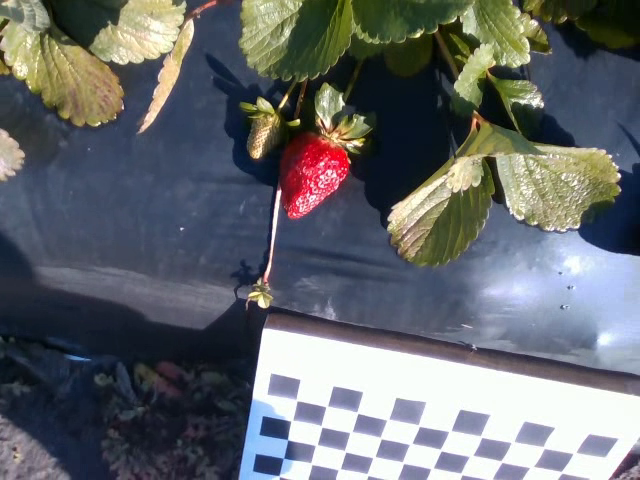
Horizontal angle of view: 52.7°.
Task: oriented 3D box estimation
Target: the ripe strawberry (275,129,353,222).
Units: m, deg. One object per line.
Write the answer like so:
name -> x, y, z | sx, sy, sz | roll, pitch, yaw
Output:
ripe strawberry -> -0.006, -0.034, 0.350 | 0.041, 0.053, 0.043 | 17, -8, -8
